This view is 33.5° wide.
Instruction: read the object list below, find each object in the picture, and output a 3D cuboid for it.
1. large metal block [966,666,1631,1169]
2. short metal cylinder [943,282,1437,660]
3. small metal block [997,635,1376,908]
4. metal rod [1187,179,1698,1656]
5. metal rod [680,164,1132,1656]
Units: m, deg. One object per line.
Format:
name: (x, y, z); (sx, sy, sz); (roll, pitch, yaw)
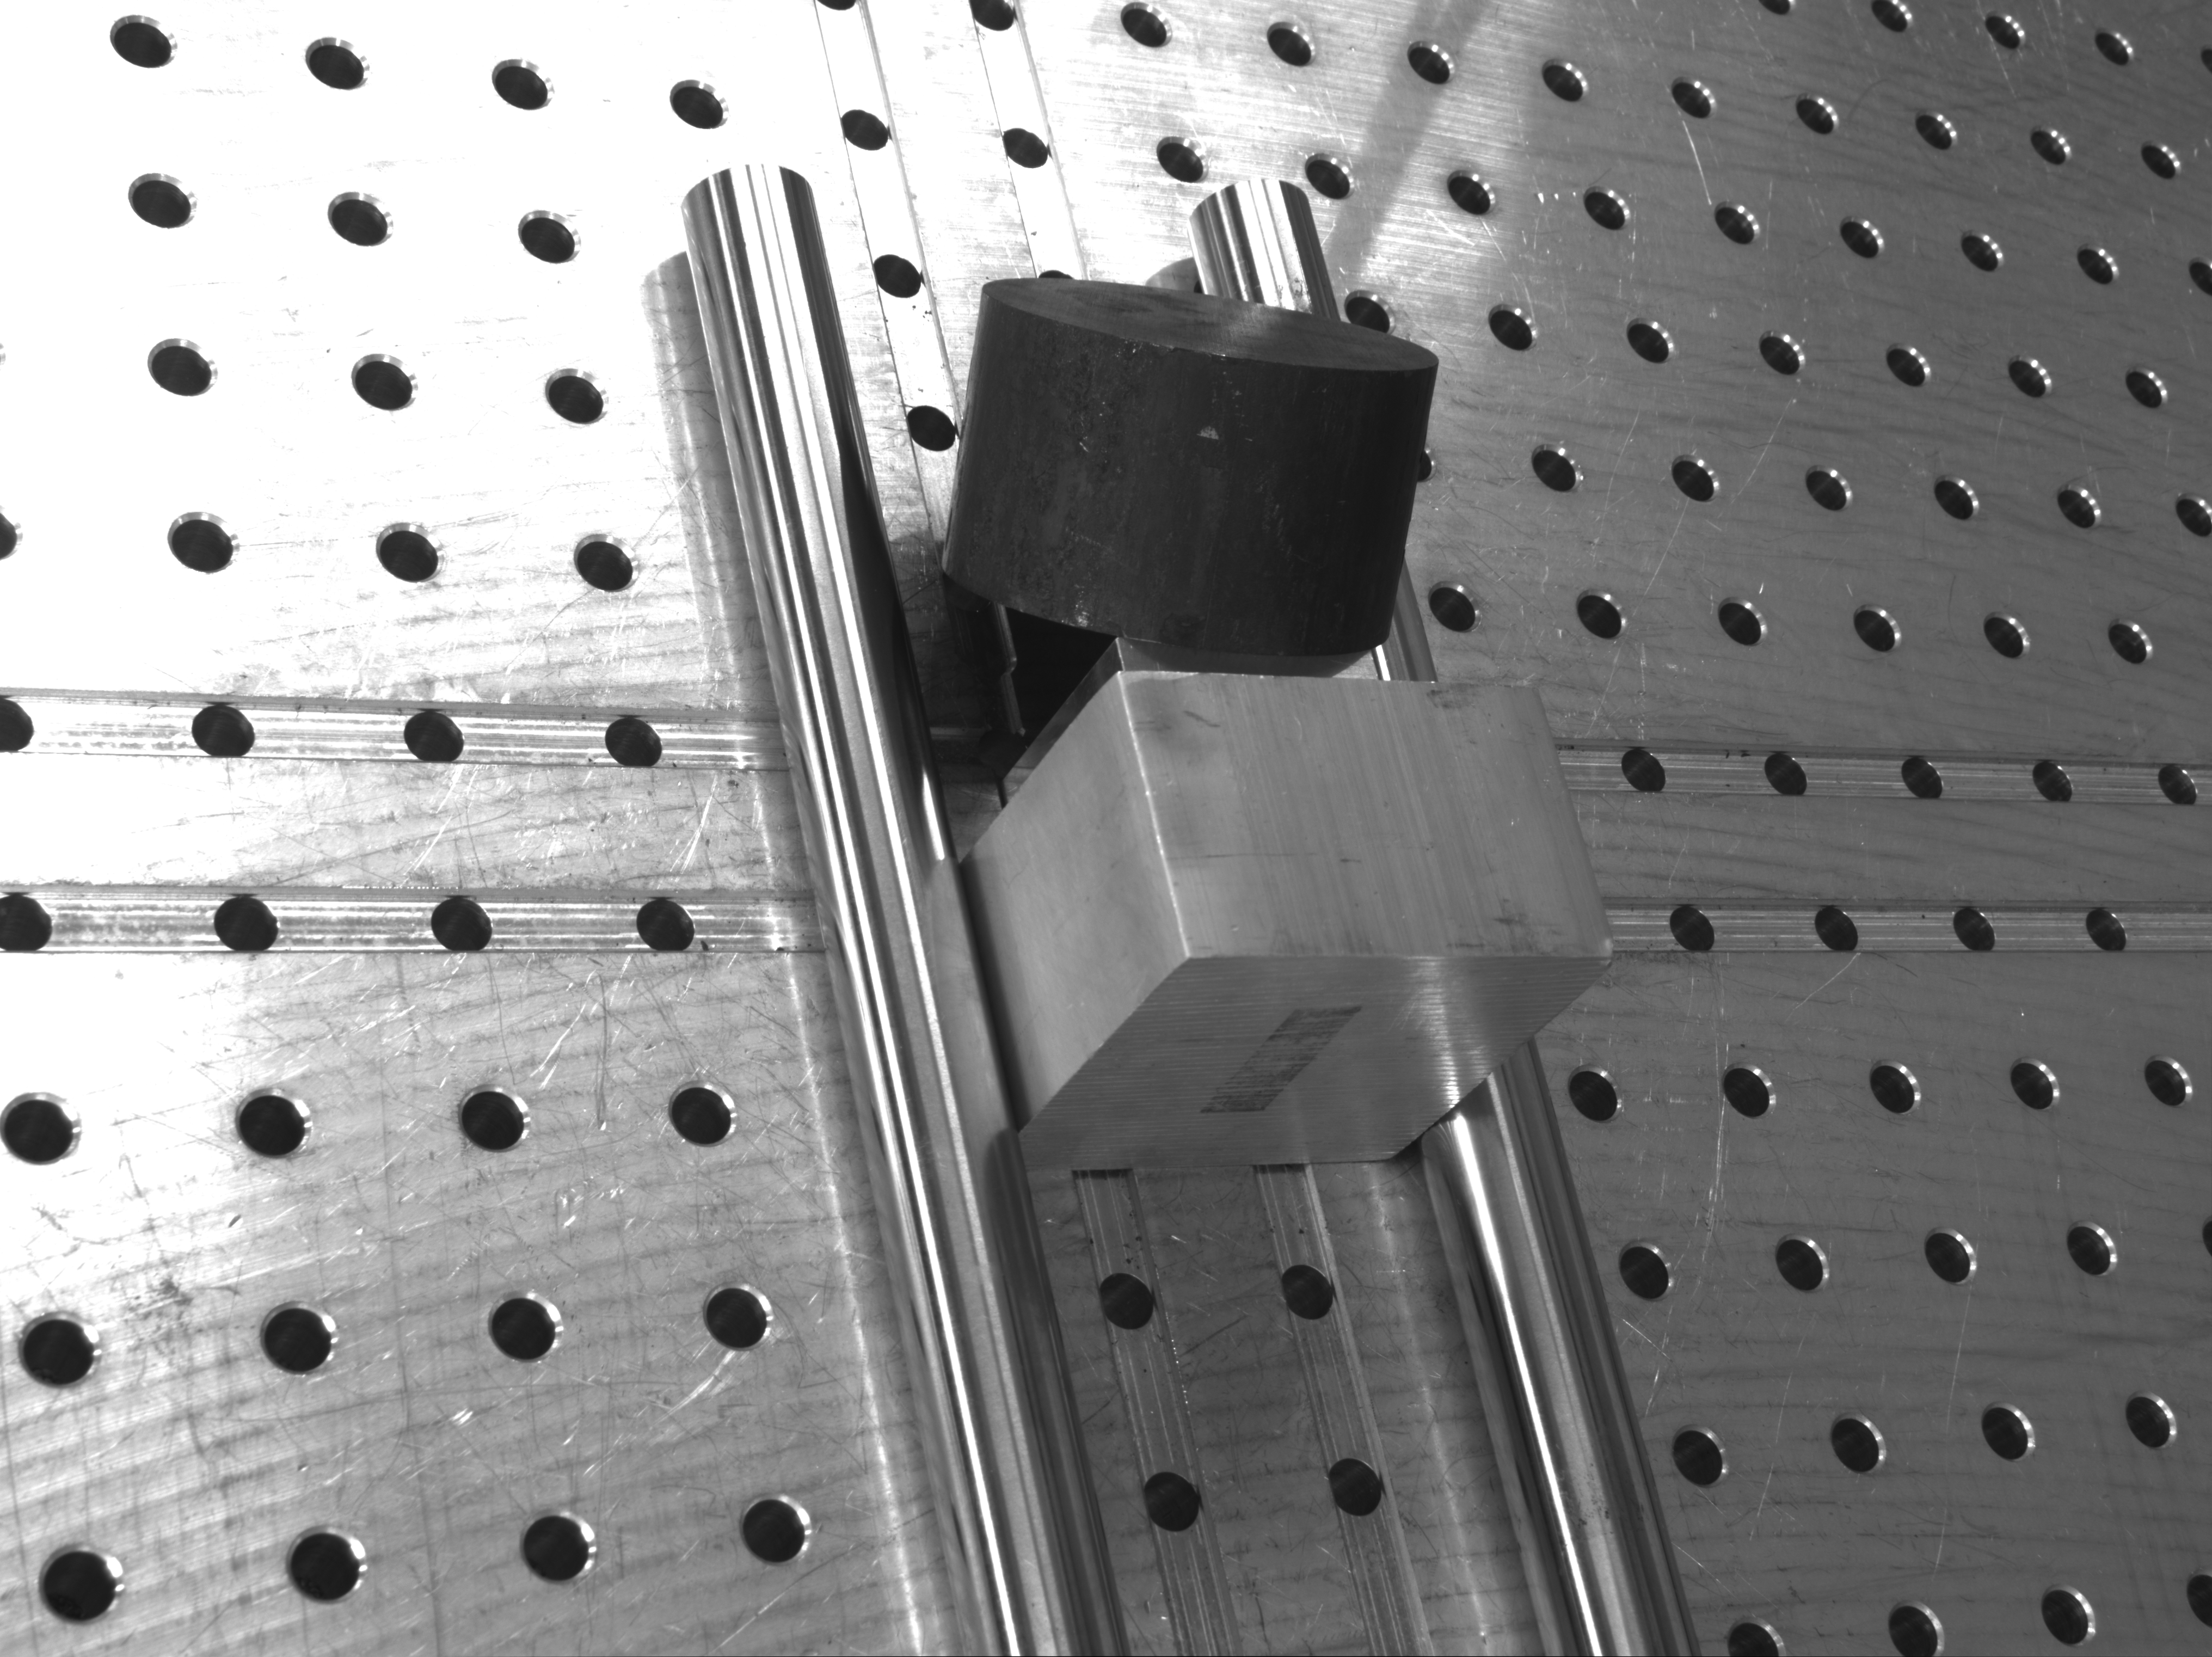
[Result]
large metal block: (0.027, 0.016, 0.608); (0.080, 0.080, 0.050); (1, 61, -28)
short metal cylinder: (0.014, -0.064, 0.646); (0.080, 0.050, 0.080); (9, 15, -2)
small metal block: (0.016, -0.009, 0.640); (0.050, 0.050, 0.025); (2, 61, -28)
metal rod: (0.057, 0.010, 0.667); (0.025, 0.025, 0.300); (2, 61, -27)
metal rod: (-0.035, 0.017, 0.613); (0.025, 0.025, 0.300); (1, 61, -28)
